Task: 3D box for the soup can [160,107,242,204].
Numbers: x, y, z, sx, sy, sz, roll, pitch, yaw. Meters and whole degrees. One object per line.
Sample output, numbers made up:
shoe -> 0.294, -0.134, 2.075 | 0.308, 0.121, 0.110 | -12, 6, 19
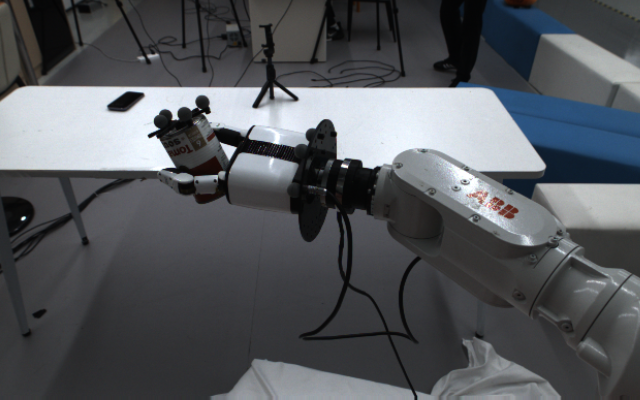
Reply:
soup can -> -0.159, -0.054, 0.650 | 0.067, 0.101, 0.067 | -22, 24, 10
